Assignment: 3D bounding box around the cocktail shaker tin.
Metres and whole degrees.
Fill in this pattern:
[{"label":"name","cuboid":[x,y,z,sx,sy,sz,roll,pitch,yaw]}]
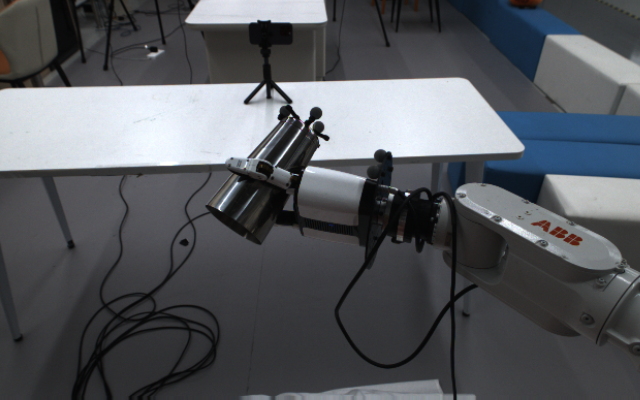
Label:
[{"label":"cocktail shaker tin","cuboid":[-0.075,-0.034,0.683,0.093,0.093,0.170,24,69,28]}]
